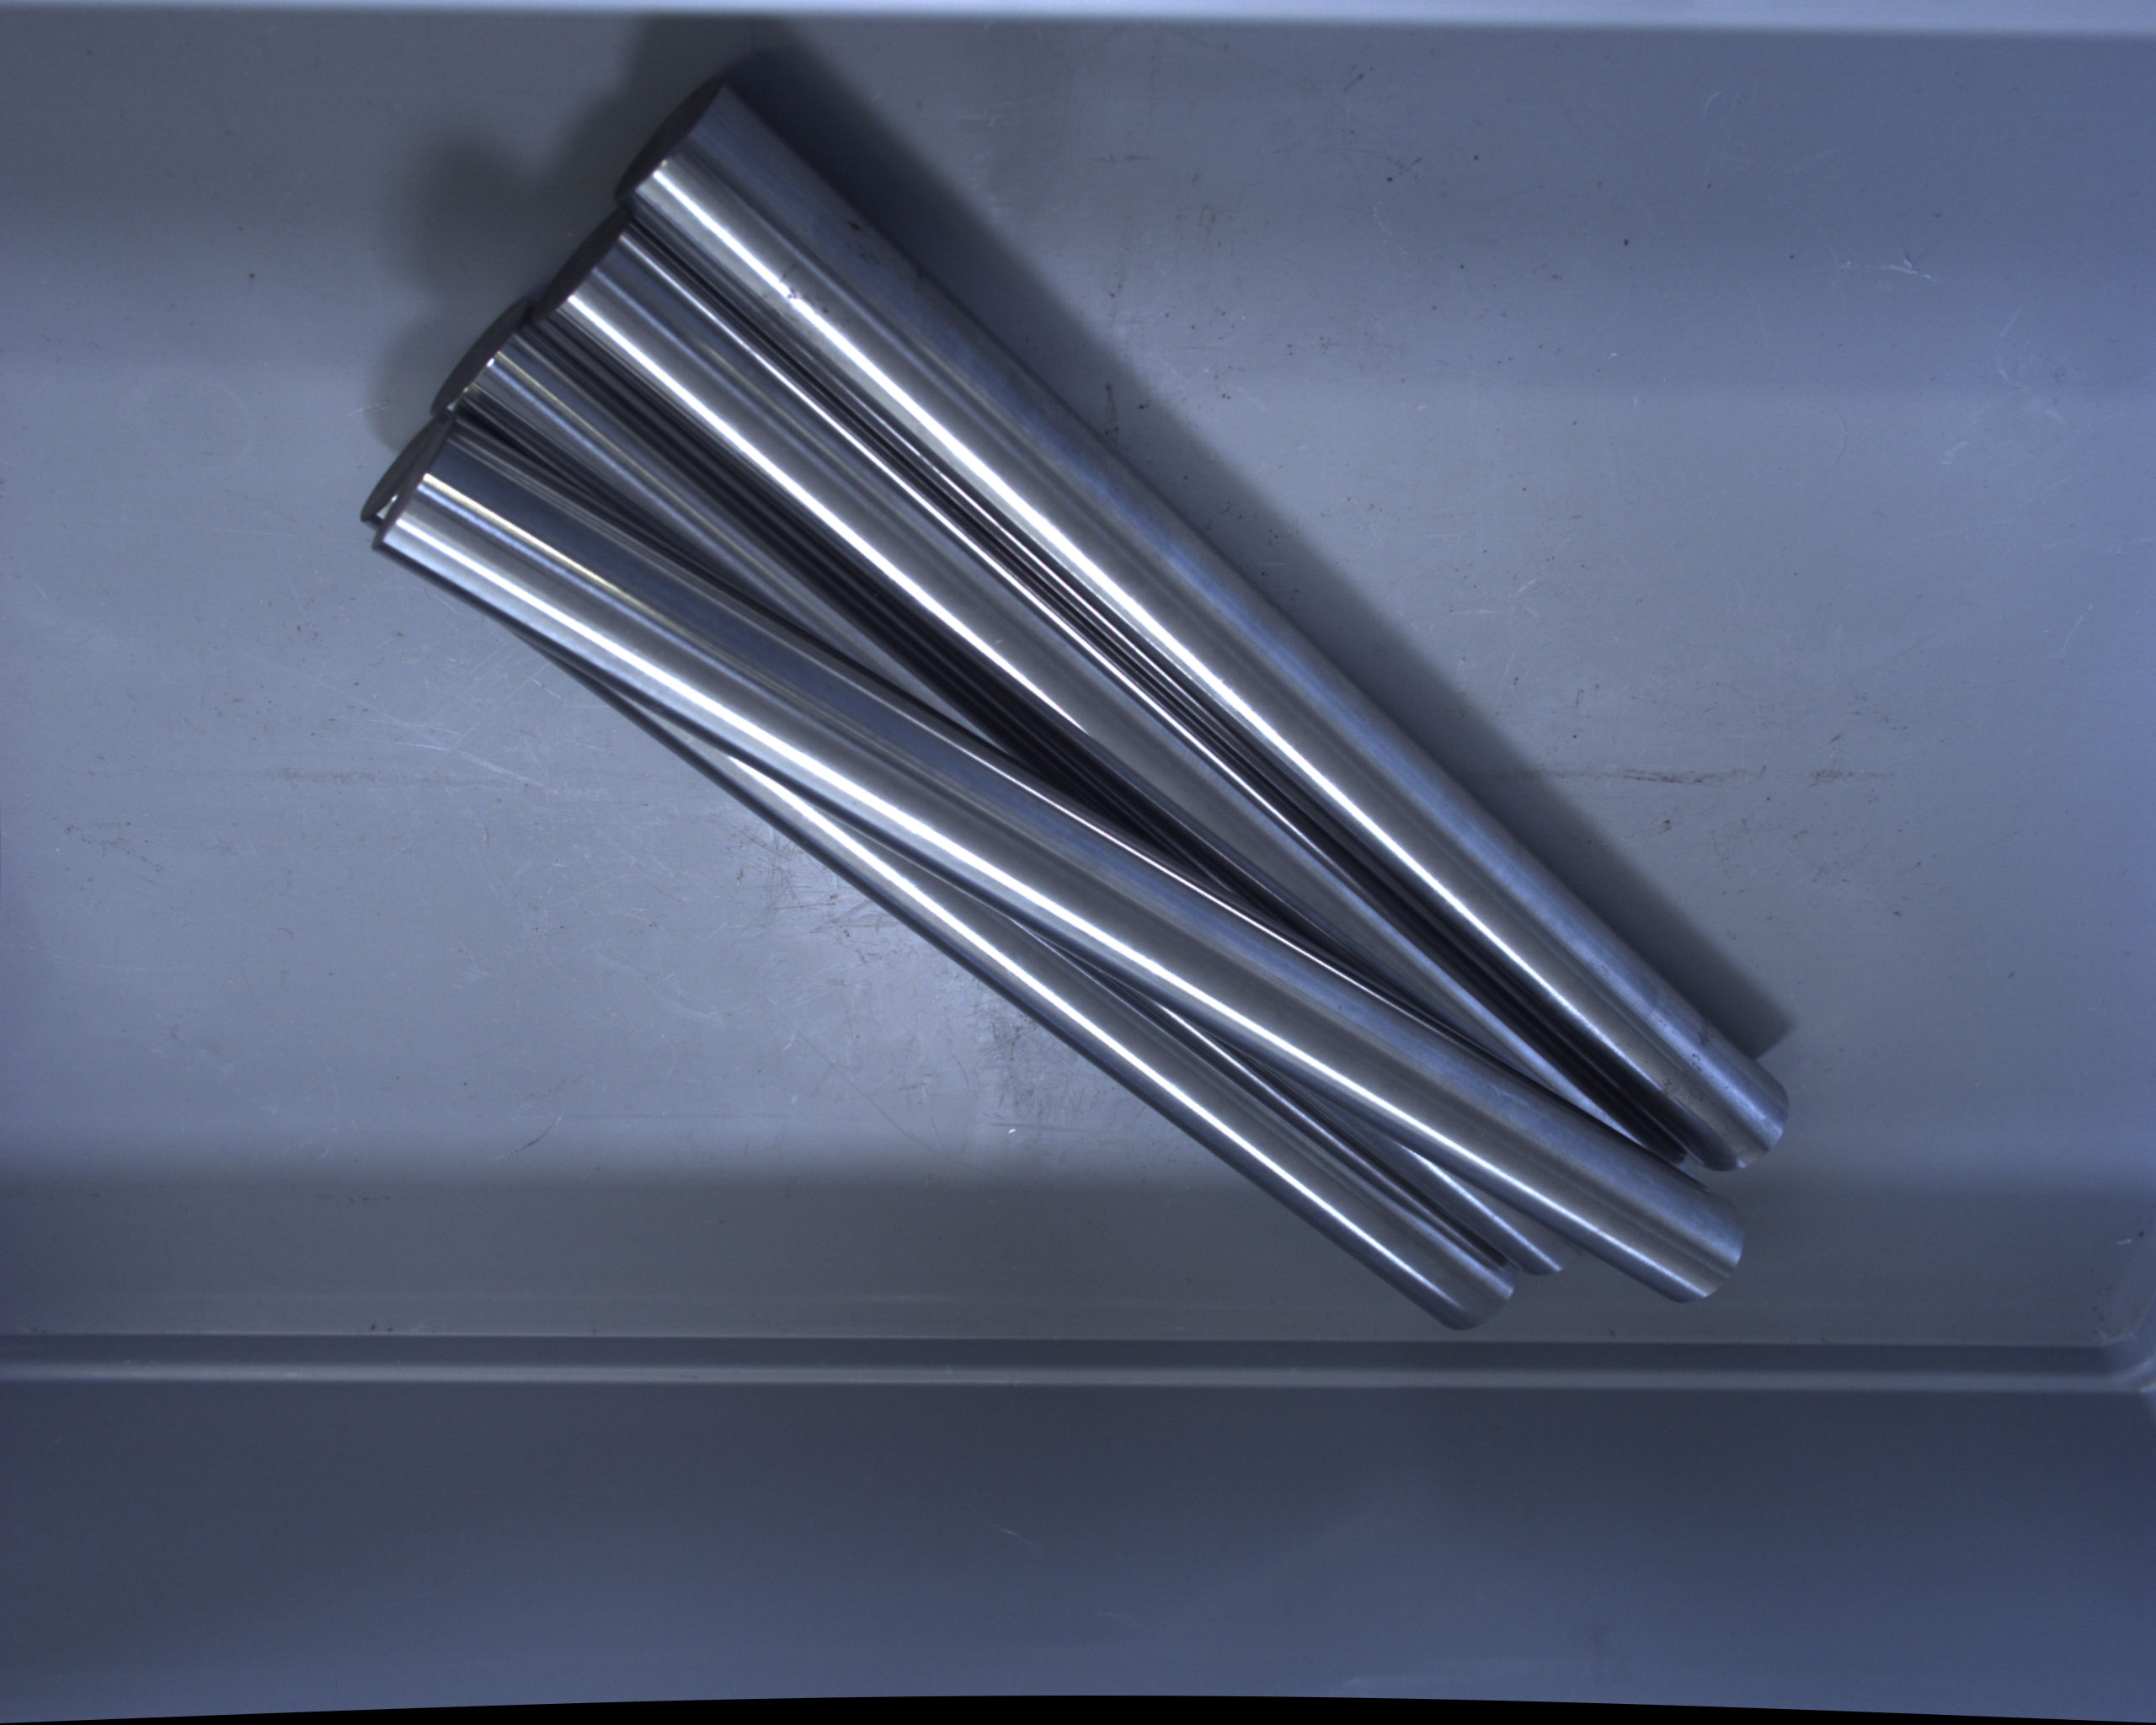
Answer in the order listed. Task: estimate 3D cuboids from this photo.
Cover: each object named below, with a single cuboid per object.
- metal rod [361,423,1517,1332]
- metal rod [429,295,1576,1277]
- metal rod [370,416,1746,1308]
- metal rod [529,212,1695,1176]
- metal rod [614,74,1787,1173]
[{"bbox_3d":[-0.009,0.016,0.421,0.025,0.025,0.301,-36,122,26],"label":"metal rod"},{"bbox_3d":[0.006,0.001,0.408,0.025,0.025,0.301,-36,122,26],"label":"metal rod"},{"bbox_3d":[0.015,0.012,0.384,0.301,0.025,0.025,31,123,-24],"label":"metal rod"},{"bbox_3d":[0.025,-0.011,0.398,0.025,0.025,0.301,-36,122,26],"label":"metal rod"},{"bbox_3d":[0.041,-0.026,0.385,0.025,0.025,0.301,-36,122,26],"label":"metal rod"}]
